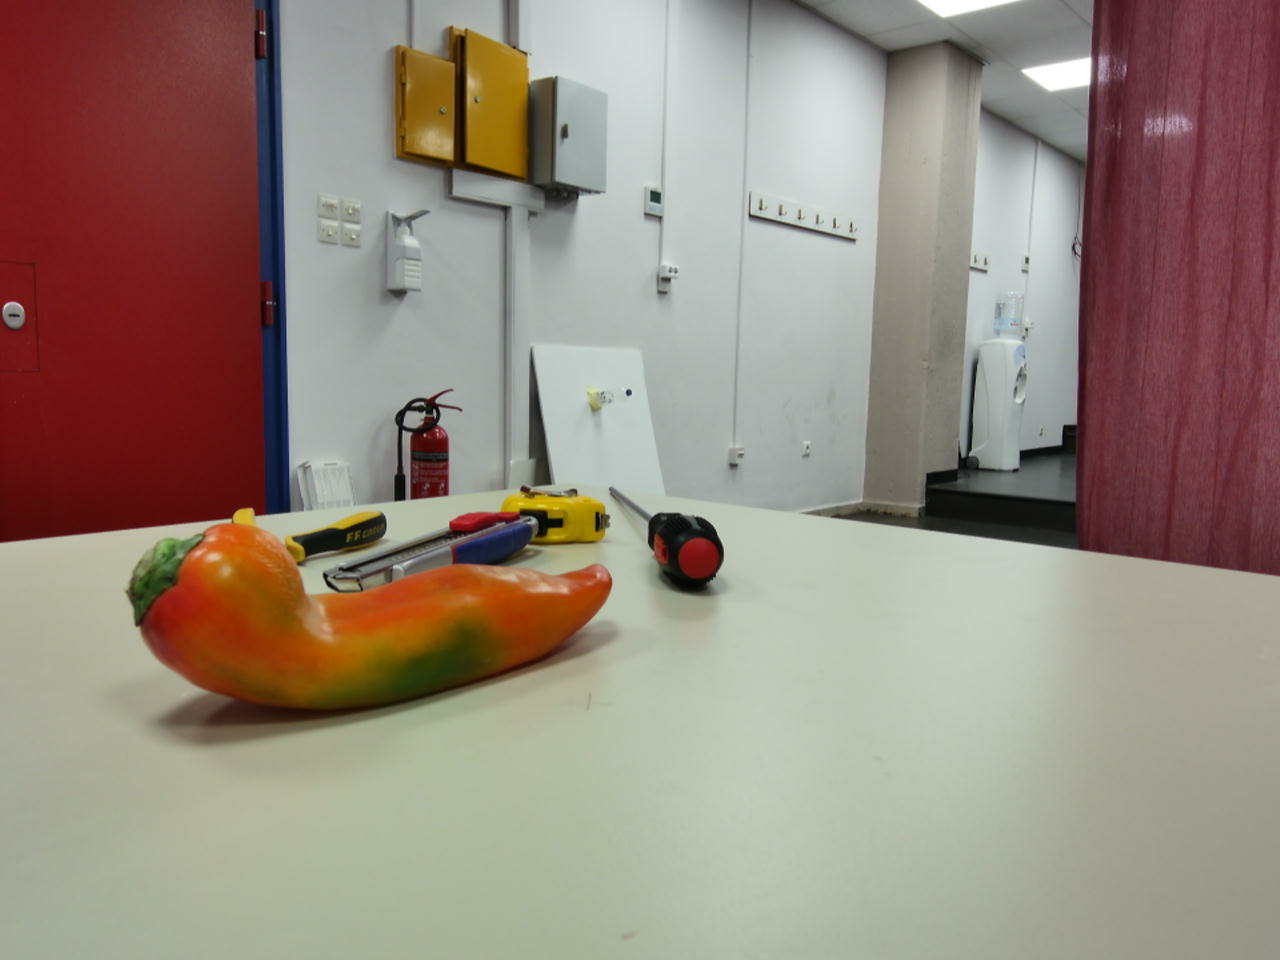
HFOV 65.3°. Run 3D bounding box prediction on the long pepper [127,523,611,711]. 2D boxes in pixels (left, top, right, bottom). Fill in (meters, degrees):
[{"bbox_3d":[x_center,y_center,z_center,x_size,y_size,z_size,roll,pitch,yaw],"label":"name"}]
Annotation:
[{"bbox_3d":[-0.083,0.042,0.374,0.066,0.065,0.199,4,5,44],"label":"long pepper"}]
